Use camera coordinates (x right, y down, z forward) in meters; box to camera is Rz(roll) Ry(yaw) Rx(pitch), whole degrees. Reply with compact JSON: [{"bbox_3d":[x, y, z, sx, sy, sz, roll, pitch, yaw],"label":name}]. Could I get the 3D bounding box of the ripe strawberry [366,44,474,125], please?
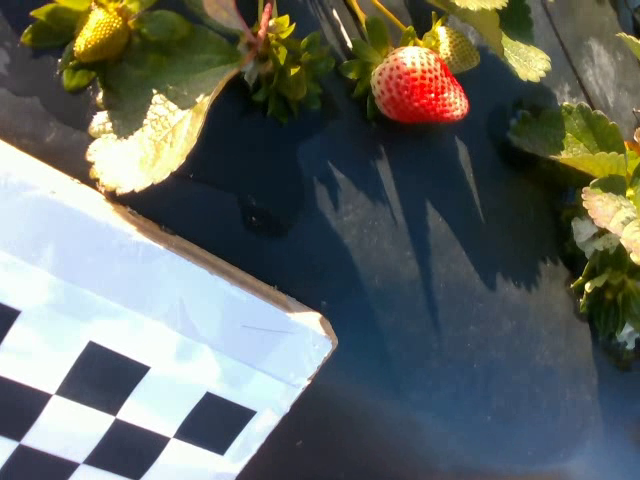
[{"bbox_3d":[0.038,-0.055,0.241,0.045,0.037,0.042,33,22,36],"label":"ripe strawberry"}]
